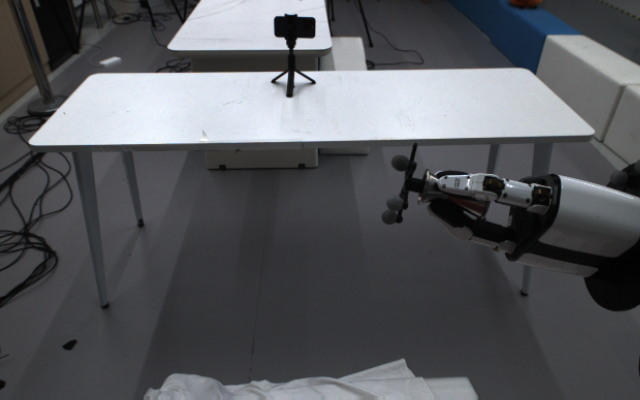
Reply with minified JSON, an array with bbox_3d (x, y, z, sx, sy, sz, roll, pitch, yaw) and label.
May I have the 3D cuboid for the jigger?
[{"bbox_3d":[0.150,-0.010,0.520,0.071,0.043,0.043,13,36,3],"label":"jigger"}]
